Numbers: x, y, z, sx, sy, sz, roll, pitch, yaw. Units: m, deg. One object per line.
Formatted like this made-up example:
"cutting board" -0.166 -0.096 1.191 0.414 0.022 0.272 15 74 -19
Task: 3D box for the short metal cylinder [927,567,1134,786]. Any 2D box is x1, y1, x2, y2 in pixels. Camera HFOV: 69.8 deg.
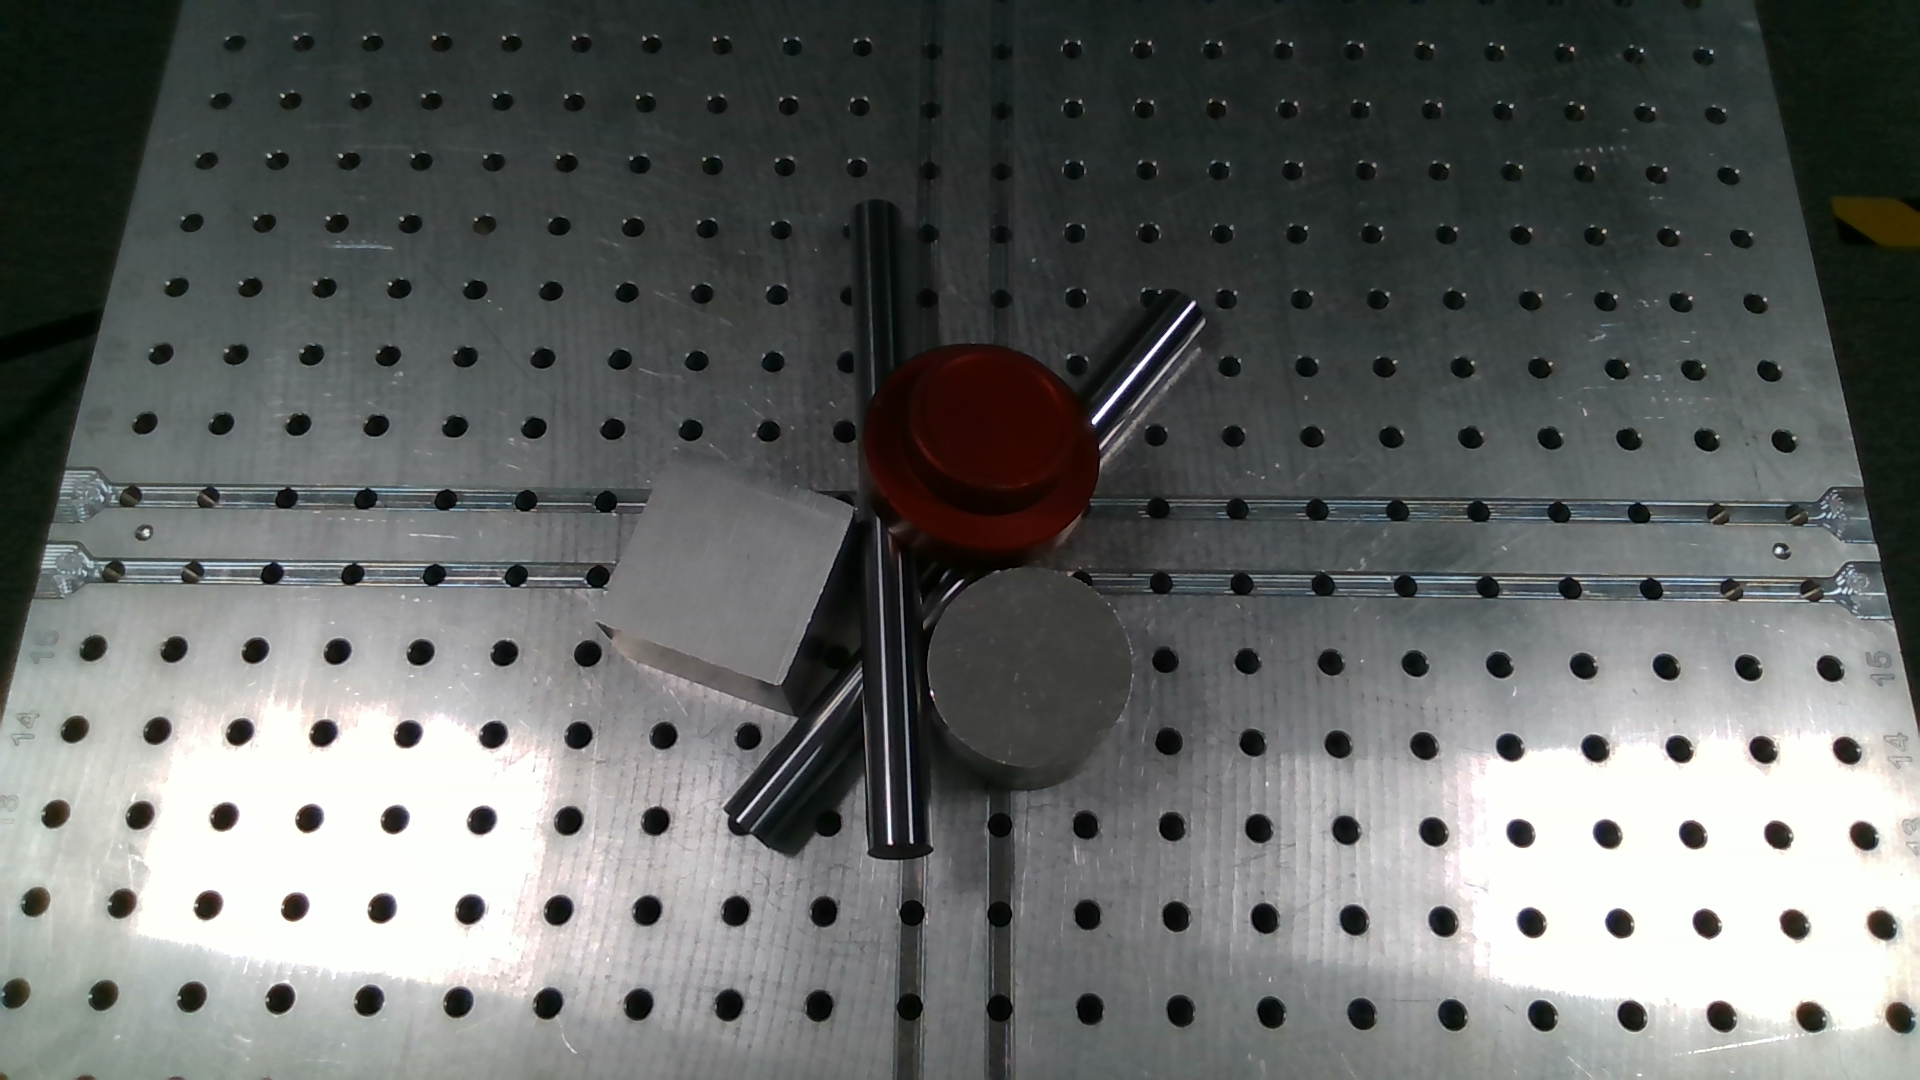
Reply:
"short metal cylinder" 0.027 0.057 0.556 0.080 0.050 0.080 0 70 0

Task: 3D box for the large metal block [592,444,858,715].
"large metal block" -0.092 0.018 0.569 0.080 0.050 0.080 19 71 7

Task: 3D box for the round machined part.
"round machined part" 0.009 -0.040 0.560 0.098 0.042 0.098 4 64 -8

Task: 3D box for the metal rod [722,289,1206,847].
"metal rod" 0.008 0.005 0.589 0.025 0.025 0.300 37 74 12

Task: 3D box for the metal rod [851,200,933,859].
"metal rod" -0.031 -0.018 0.577 0.025 0.025 0.299 -3 63 -1
